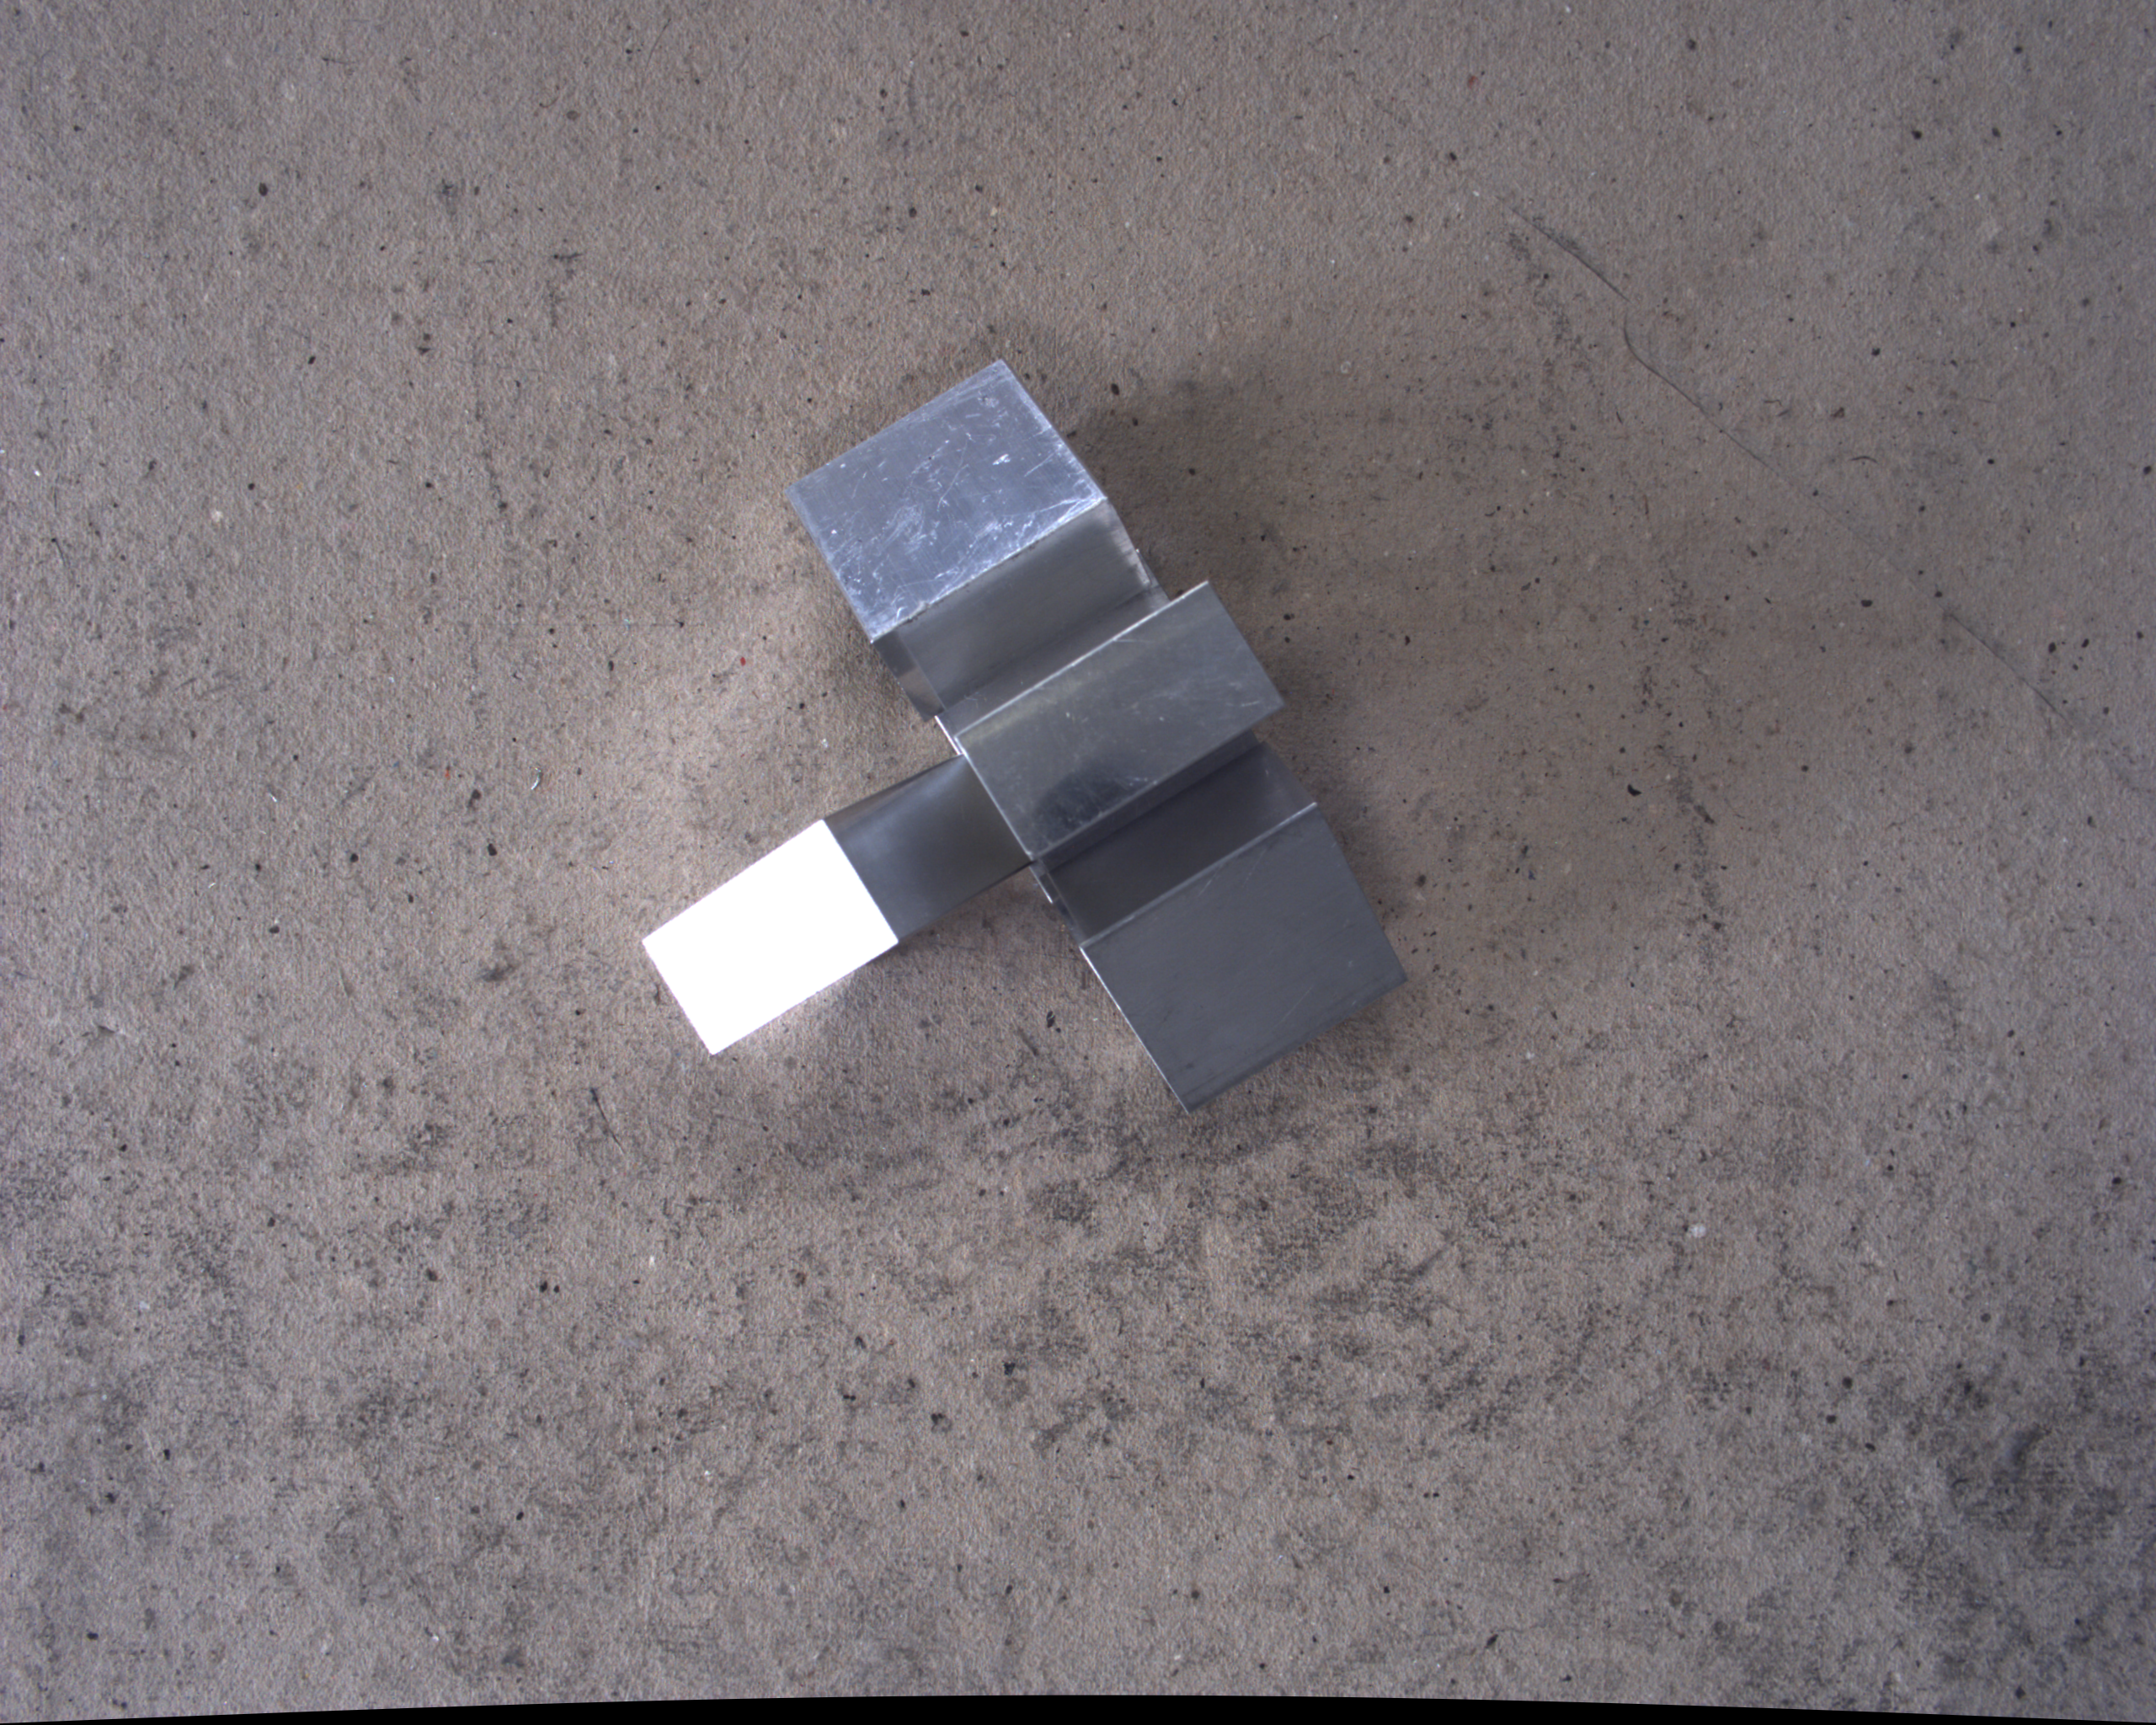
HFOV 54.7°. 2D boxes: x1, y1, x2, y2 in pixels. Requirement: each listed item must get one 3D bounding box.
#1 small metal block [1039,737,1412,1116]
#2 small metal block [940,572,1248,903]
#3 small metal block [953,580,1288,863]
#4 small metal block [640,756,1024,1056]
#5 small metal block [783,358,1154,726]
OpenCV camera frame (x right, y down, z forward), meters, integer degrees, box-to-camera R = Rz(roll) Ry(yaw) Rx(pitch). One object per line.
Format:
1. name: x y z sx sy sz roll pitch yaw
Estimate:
1. small metal block: 0.029 0.013 0.399 0.050 0.025 0.050 -32 127 0
2. small metal block: 0.003 -0.027 0.412 0.050 0.025 0.050 -32 90 2
3. small metal block: 0.007 -0.024 0.374 0.050 0.050 0.025 -32 91 0
4. small metal block: -0.044 0.007 0.389 0.050 0.050 0.025 -31 91 32
5. small metal block: -0.021 -0.062 0.398 0.050 0.025 0.050 -31 50 0
